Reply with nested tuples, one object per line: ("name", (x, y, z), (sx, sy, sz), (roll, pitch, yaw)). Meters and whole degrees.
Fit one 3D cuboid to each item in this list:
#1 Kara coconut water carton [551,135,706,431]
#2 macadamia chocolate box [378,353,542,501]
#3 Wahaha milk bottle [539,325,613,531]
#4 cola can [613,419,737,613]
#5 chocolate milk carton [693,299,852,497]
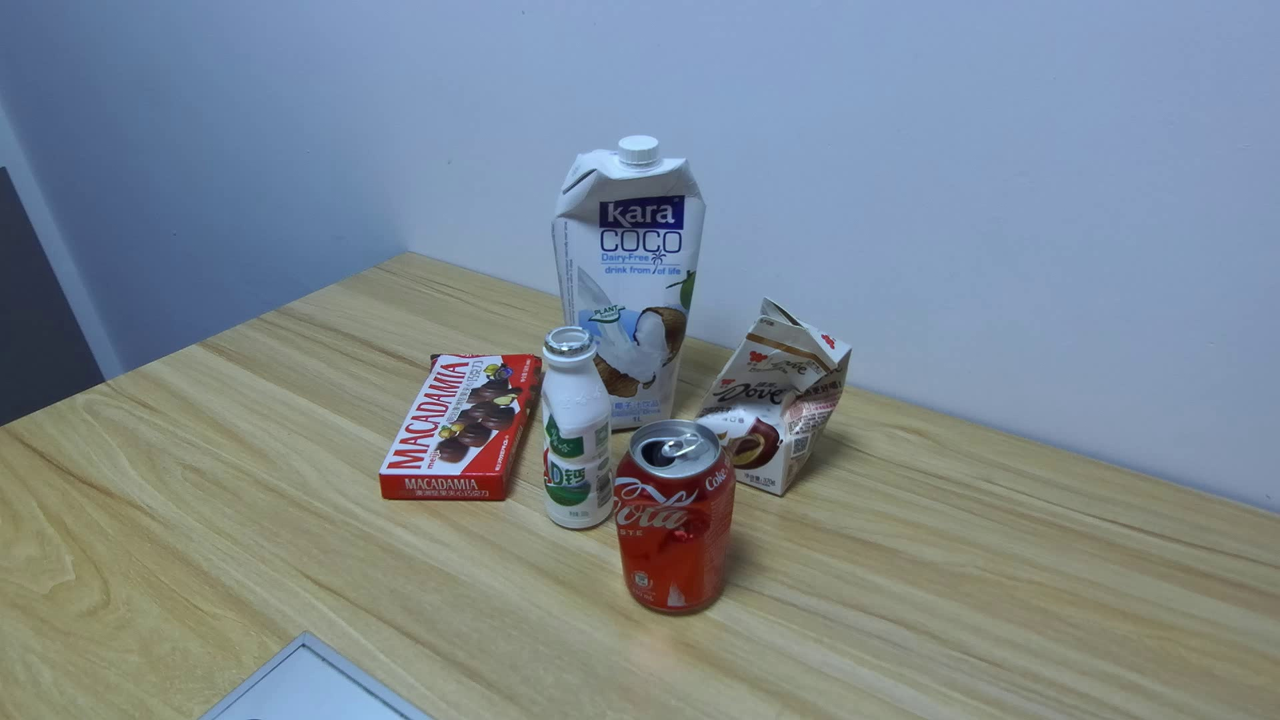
("Kara coconut water carton", (-0.010, -0.058, 0.568), (0.115, 0.238, 0.069), (-5, 31, -13))
("macadamia chocolate box", (-0.146, 0.049, 0.605), (0.106, 0.028, 0.182), (1, 32, -1))
("Wahaha milk bottle", (-0.045, 0.048, 0.485), (0.056, 0.148, 0.056), (0, 32, 0))
("cola can", (0.022, 0.096, 0.436), (0.065, 0.117, 0.066), (14, 35, 23))
("chocolate milk carton", (0.100, 0.025, 0.527), (0.089, 0.155, 0.077), (27, 43, 15))
